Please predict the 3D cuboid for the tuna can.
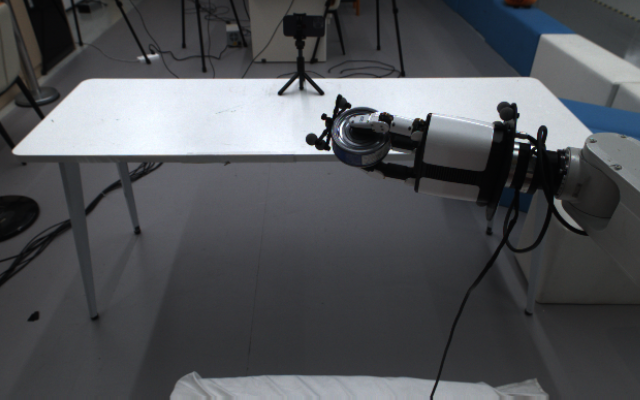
[{"bbox_3d":[0.061,-0.092,0.694,0.085,0.034,0.085,-1,61,1],"label":"tuna can"}]
